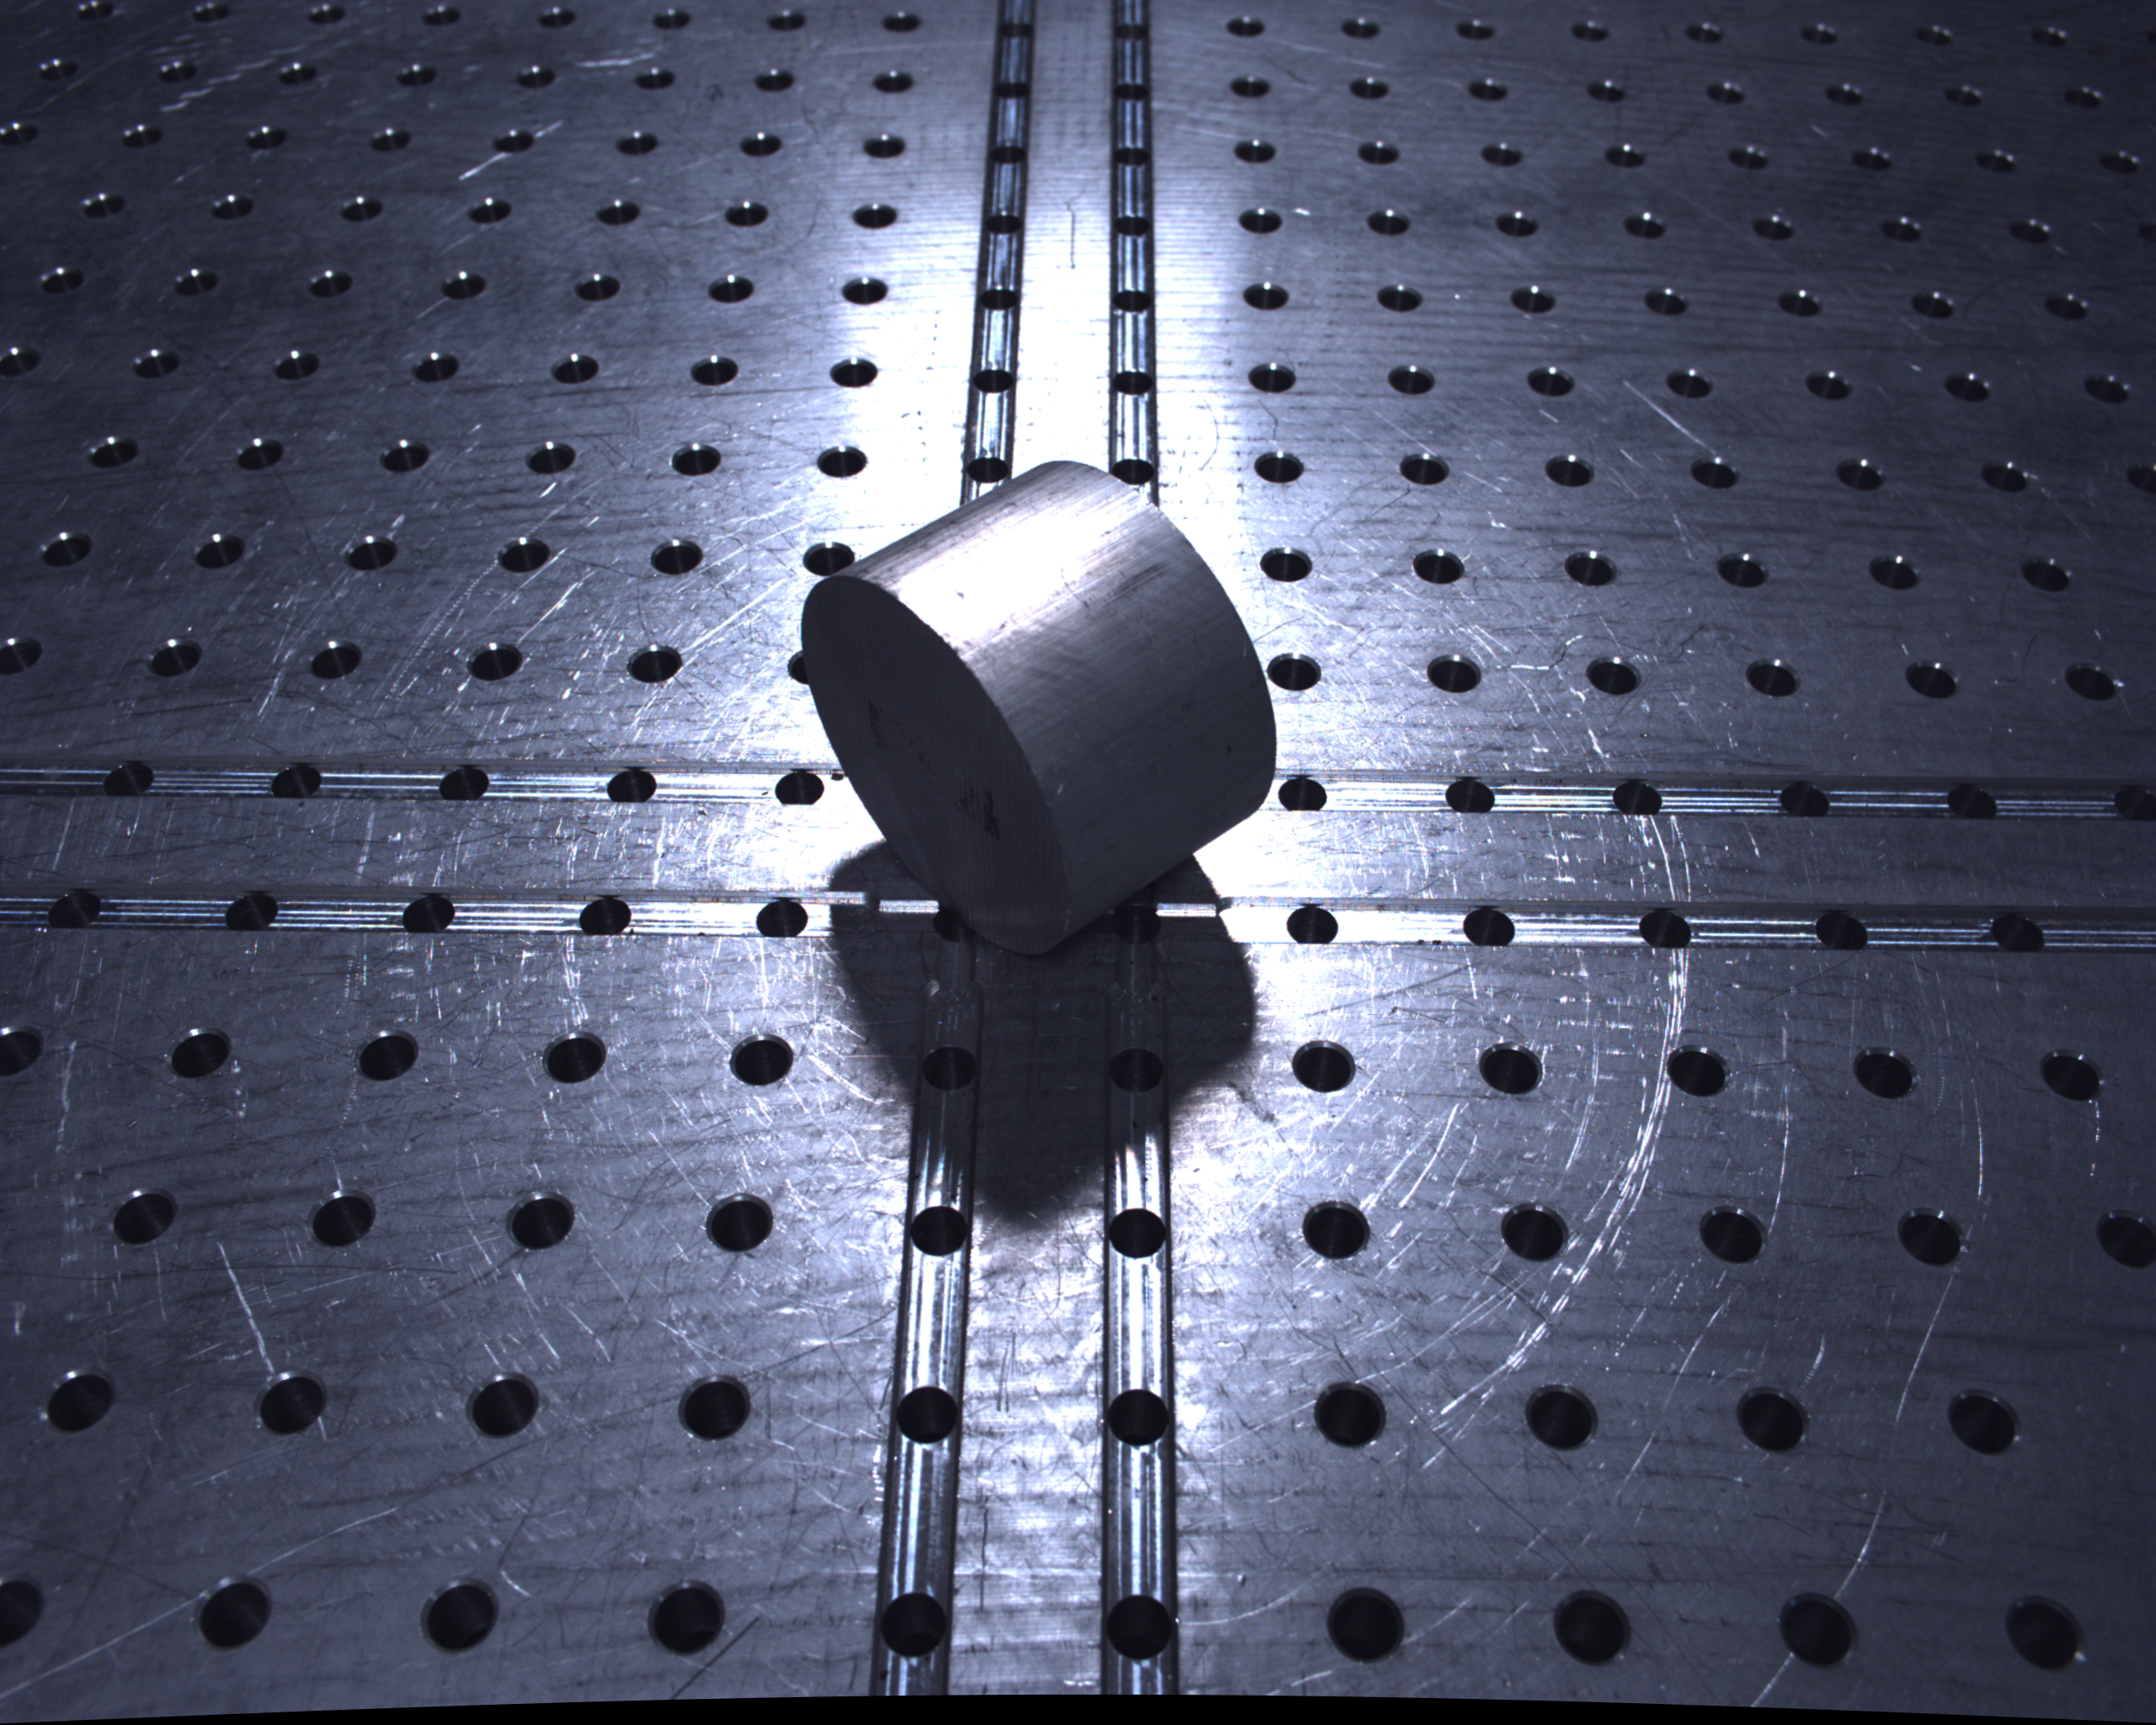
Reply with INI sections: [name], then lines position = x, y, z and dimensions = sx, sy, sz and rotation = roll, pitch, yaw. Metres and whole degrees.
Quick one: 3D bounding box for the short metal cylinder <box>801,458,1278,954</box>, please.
[short metal cylinder]
position = -0.008, -0.030, 0.396
dimensions = 0.050, 0.080, 0.080
rotation = -33, 58, -25
